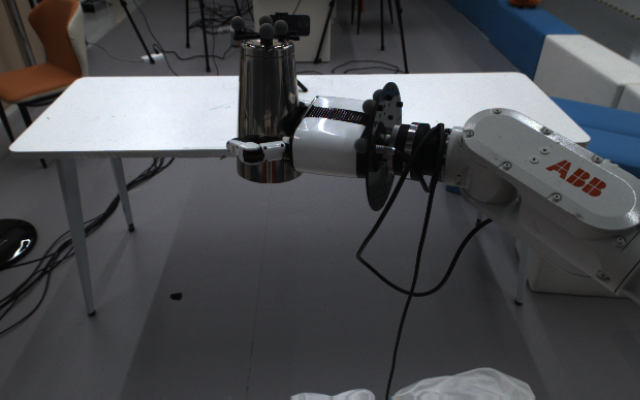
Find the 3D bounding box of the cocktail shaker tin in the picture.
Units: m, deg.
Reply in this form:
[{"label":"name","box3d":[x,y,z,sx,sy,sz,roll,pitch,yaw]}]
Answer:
[{"label":"cocktail shaker tin","box3d":[-0.066,-0.118,0.632,0.093,0.170,0.093,1,28,0]}]
